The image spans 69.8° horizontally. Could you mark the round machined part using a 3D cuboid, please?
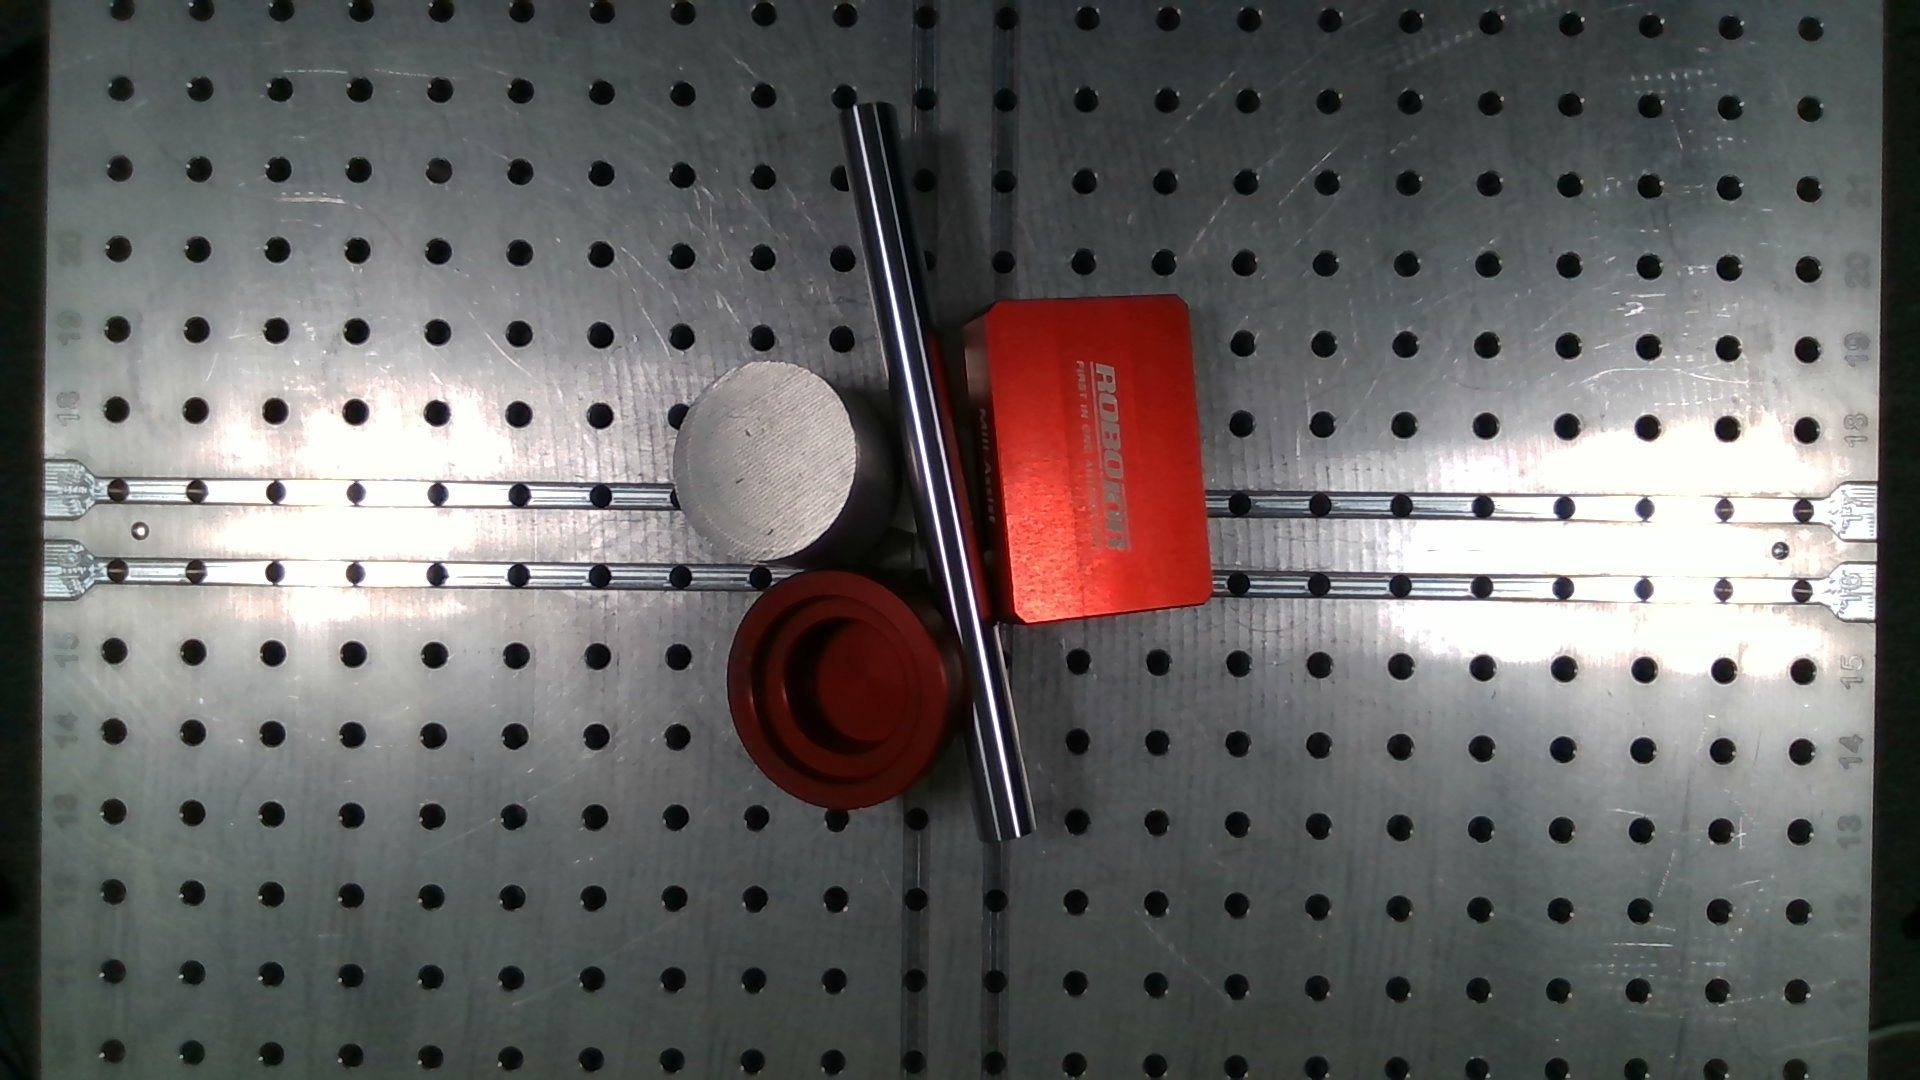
[{"bbox_3d":[-0.044,0.059,0.570,0.098,0.042,0.098,2,95,22],"label":"round machined part"}]

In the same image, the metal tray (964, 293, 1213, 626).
[{"bbox_3d":[0.054,-0.034,0.573,0.090,0.030,0.130,-5,91,-19],"label":"metal tray"}]

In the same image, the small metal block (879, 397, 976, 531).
[{"bbox_3d":[-0.018,-0.029,0.597,0.050,0.025,0.050,18,90,0],"label":"small metal block"}]

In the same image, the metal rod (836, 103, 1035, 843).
[{"bbox_3d":[-0.010,-0.027,0.563,0.025,0.025,0.300,-11,91,0],"label":"metal rod"}]

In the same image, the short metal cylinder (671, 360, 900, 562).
[{"bbox_3d":[-0.071,-0.029,0.565,0.080,0.050,0.080,-2,84,18],"label":"short metal cylinder"}]
